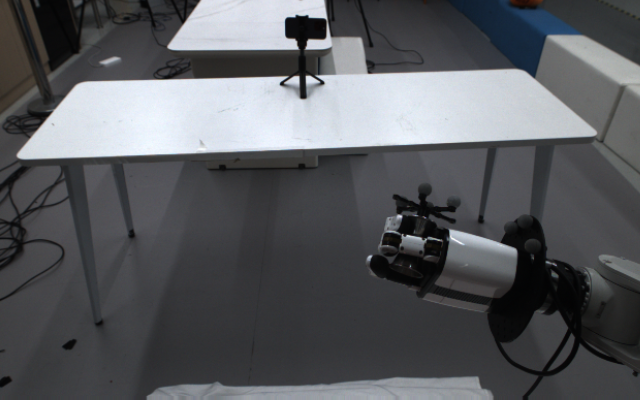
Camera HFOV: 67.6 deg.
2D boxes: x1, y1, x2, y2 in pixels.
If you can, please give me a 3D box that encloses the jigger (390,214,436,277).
[{"bbox_3d":[0.118,0.055,0.602,0.043,0.043,0.071,15,70,18],"label":"jigger"}]
